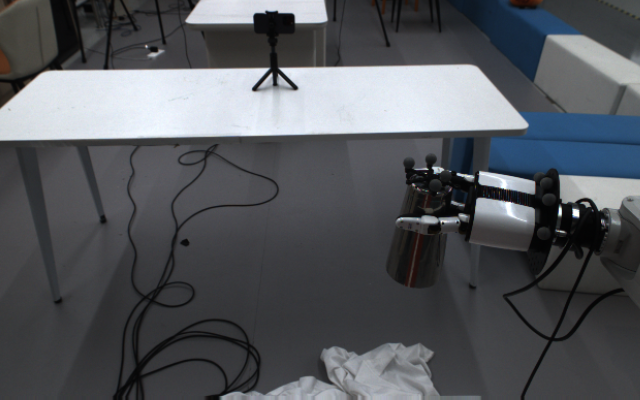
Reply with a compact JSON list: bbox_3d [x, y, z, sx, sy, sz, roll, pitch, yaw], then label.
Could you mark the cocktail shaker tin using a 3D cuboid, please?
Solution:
[{"bbox_3d":[0.163,0.041,0.768,0.093,0.170,0.093,3,33,-2],"label":"cocktail shaker tin"}]
